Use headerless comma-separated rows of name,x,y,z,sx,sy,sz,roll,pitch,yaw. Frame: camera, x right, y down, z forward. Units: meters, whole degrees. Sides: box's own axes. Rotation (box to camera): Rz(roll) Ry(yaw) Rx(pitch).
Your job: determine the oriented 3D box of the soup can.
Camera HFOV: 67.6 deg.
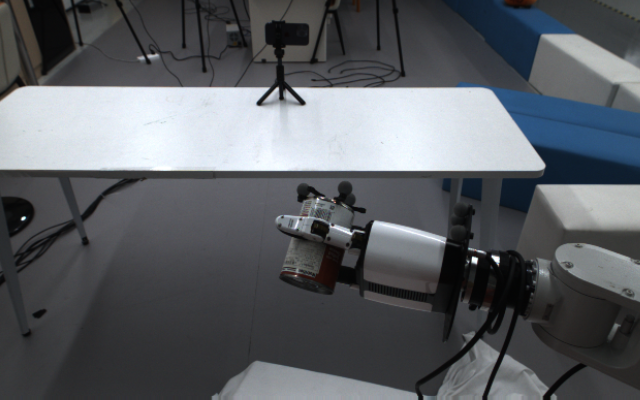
soup can,0.000,0.054,0.580,0.067,0.067,0.101,12,70,14
